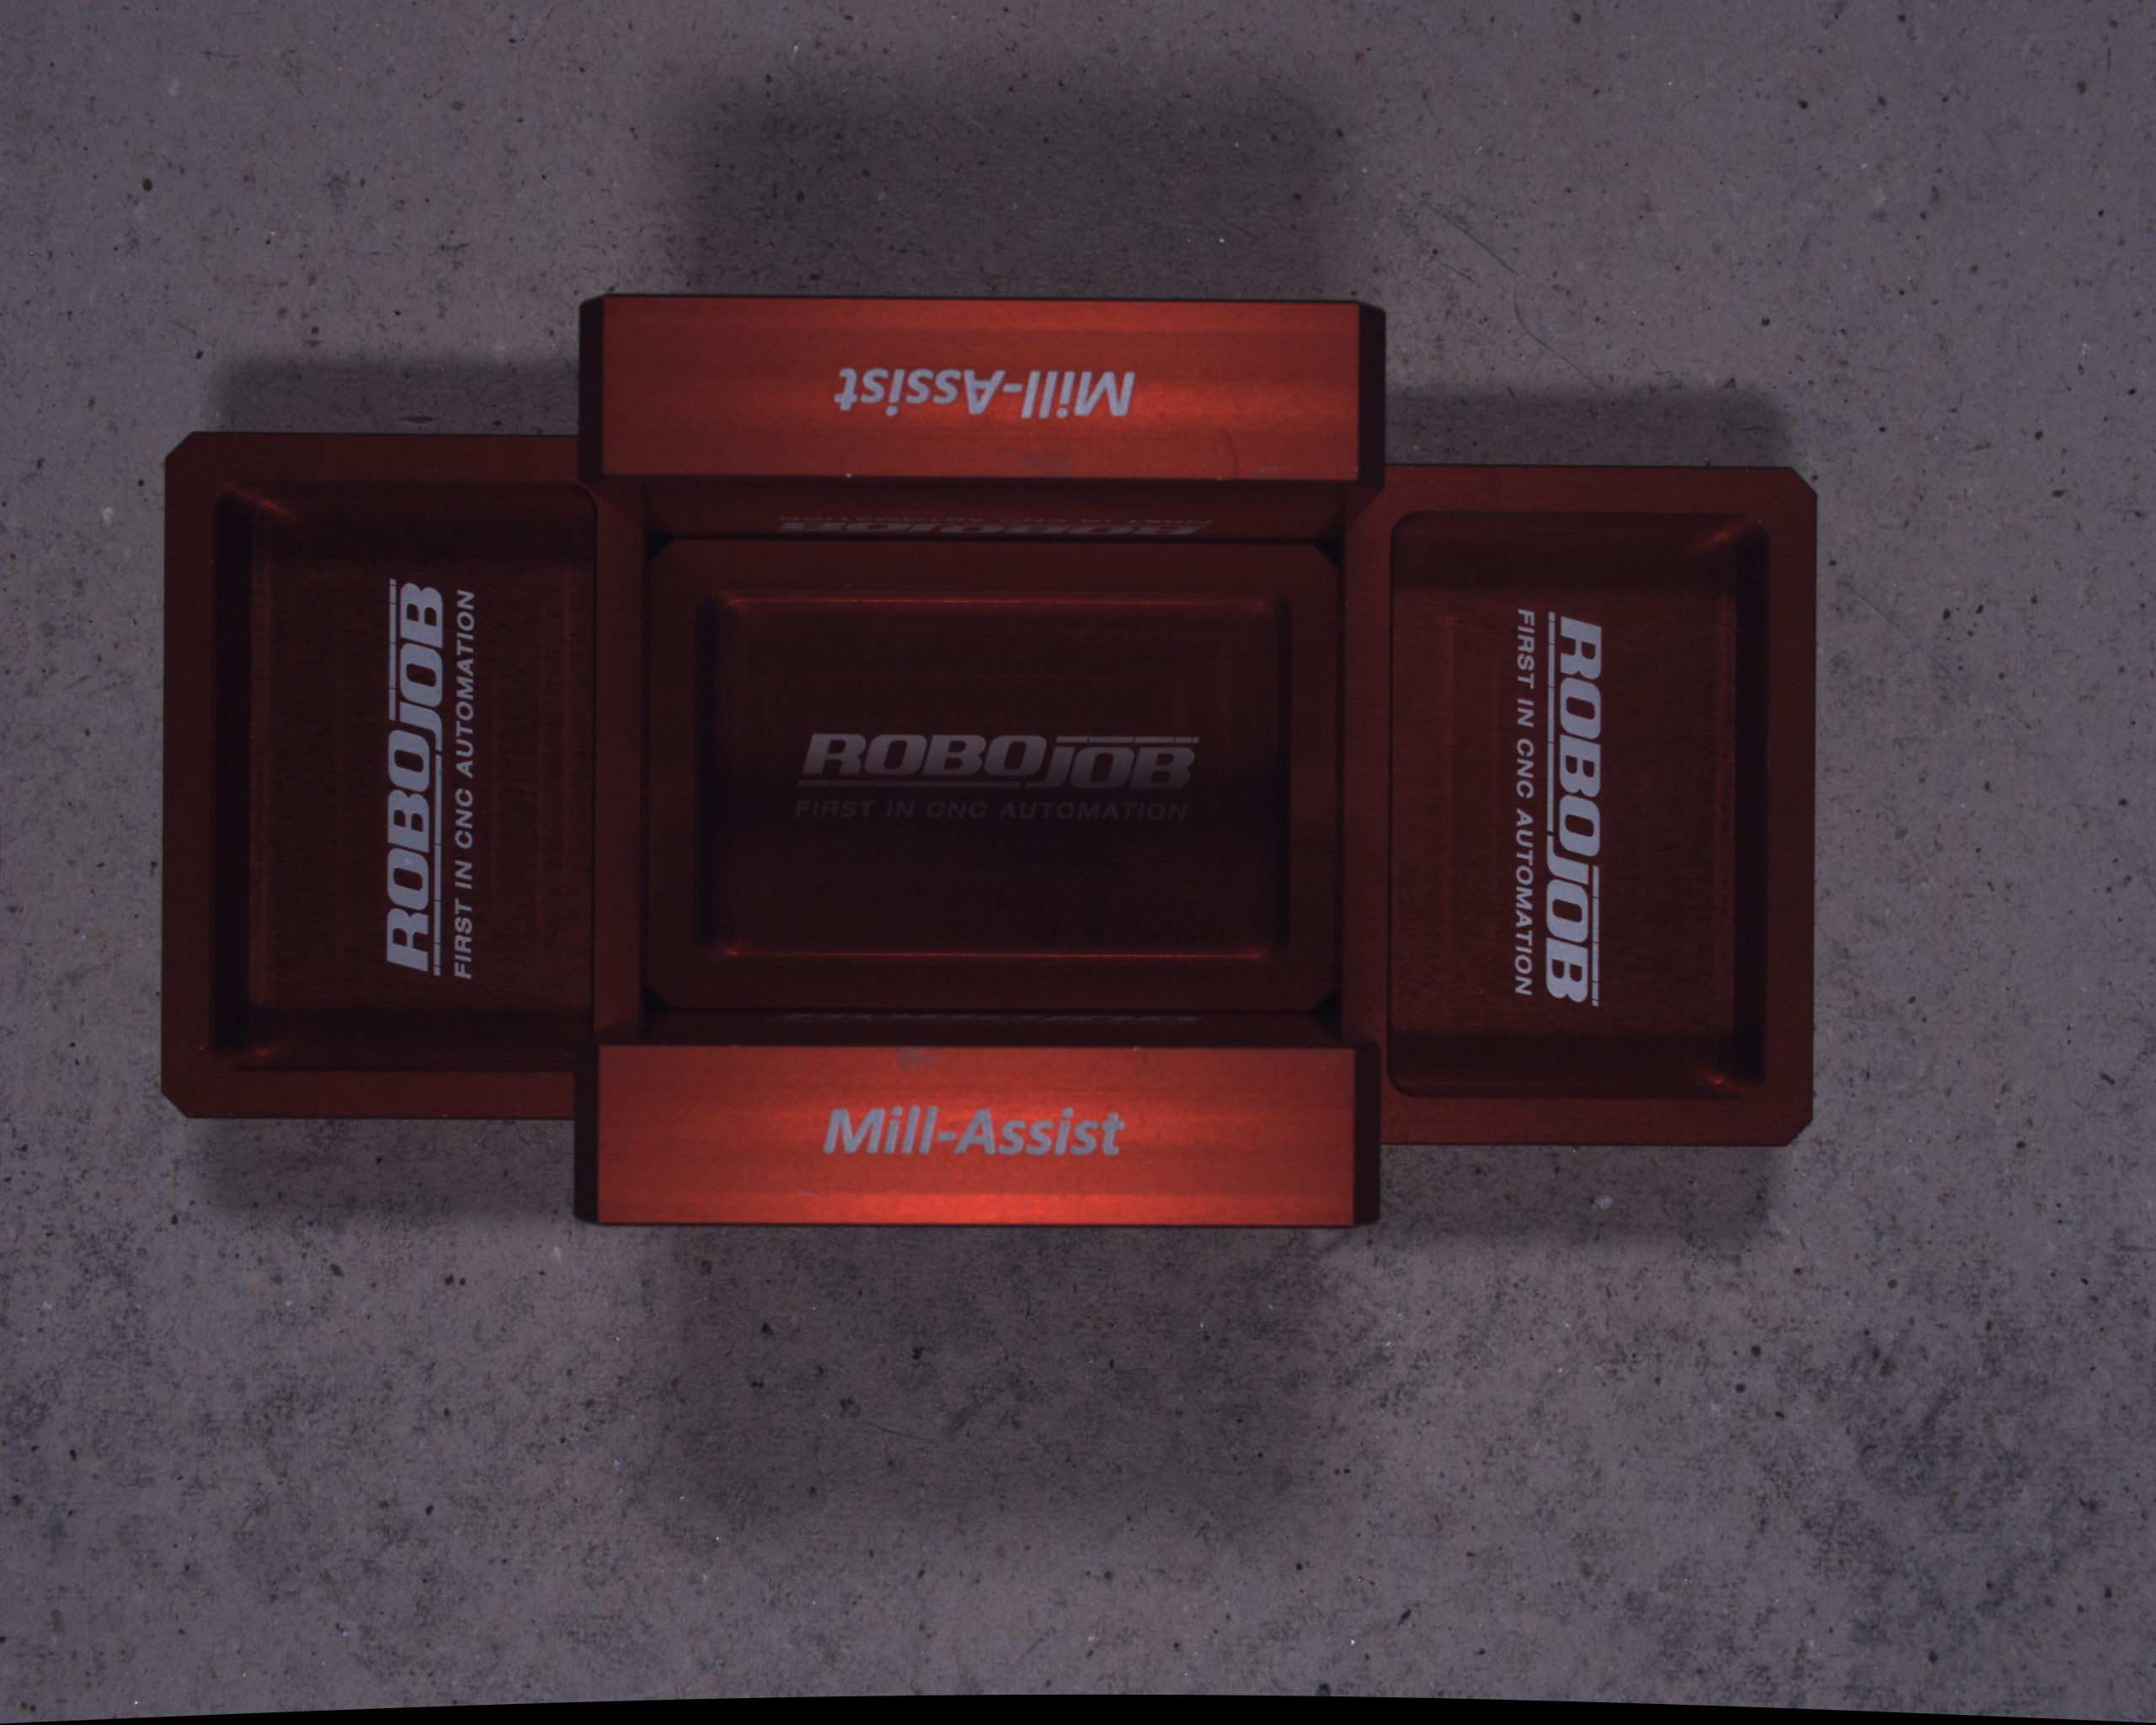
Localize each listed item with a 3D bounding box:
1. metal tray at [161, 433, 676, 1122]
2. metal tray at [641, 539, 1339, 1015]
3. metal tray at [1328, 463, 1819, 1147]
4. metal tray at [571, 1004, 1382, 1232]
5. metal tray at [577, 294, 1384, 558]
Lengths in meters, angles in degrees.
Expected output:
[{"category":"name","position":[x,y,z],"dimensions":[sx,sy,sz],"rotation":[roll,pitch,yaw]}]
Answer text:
[{"category":"metal tray","position":[-0.127,-0.016,0.407],"dimensions":[0.091,0.030,0.129],"rotation":[1,90,-1]},{"category":"metal tray","position":[-0.017,-0.016,0.408],"dimensions":[0.131,0.030,0.089],"rotation":[1,90,-1]},{"category":"metal tray","position":[0.095,-0.011,0.410],"dimensions":[0.091,0.030,0.129],"rotation":[1,90,-1]},{"category":"metal tray","position":[-0.016,0.044,0.377],"dimensions":[0.131,0.090,0.030],"rotation":[0,90,-1]},{"category":"metal tray","position":[-0.016,-0.076,0.378],"dimensions":[0.131,0.090,0.030],"rotation":[0,90,-1]}]
